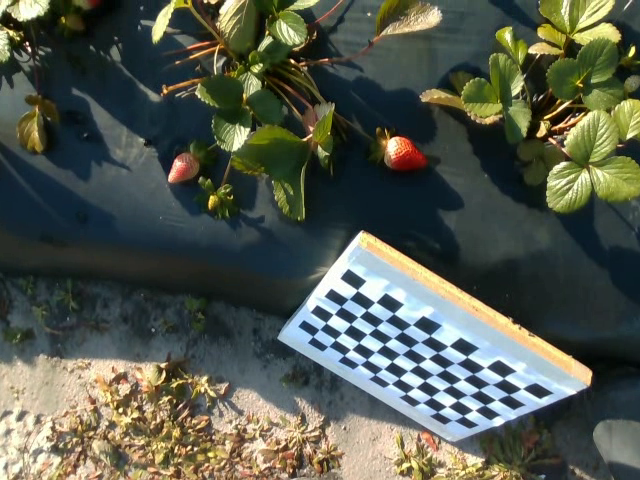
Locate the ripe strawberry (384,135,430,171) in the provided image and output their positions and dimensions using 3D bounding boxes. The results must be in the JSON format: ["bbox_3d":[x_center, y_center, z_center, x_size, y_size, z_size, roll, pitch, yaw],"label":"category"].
[{"bbox_3d":[0.099,-0.096,0.676,0.063,0.044,0.045,18,-38,8],"label":"ripe strawberry"}]
